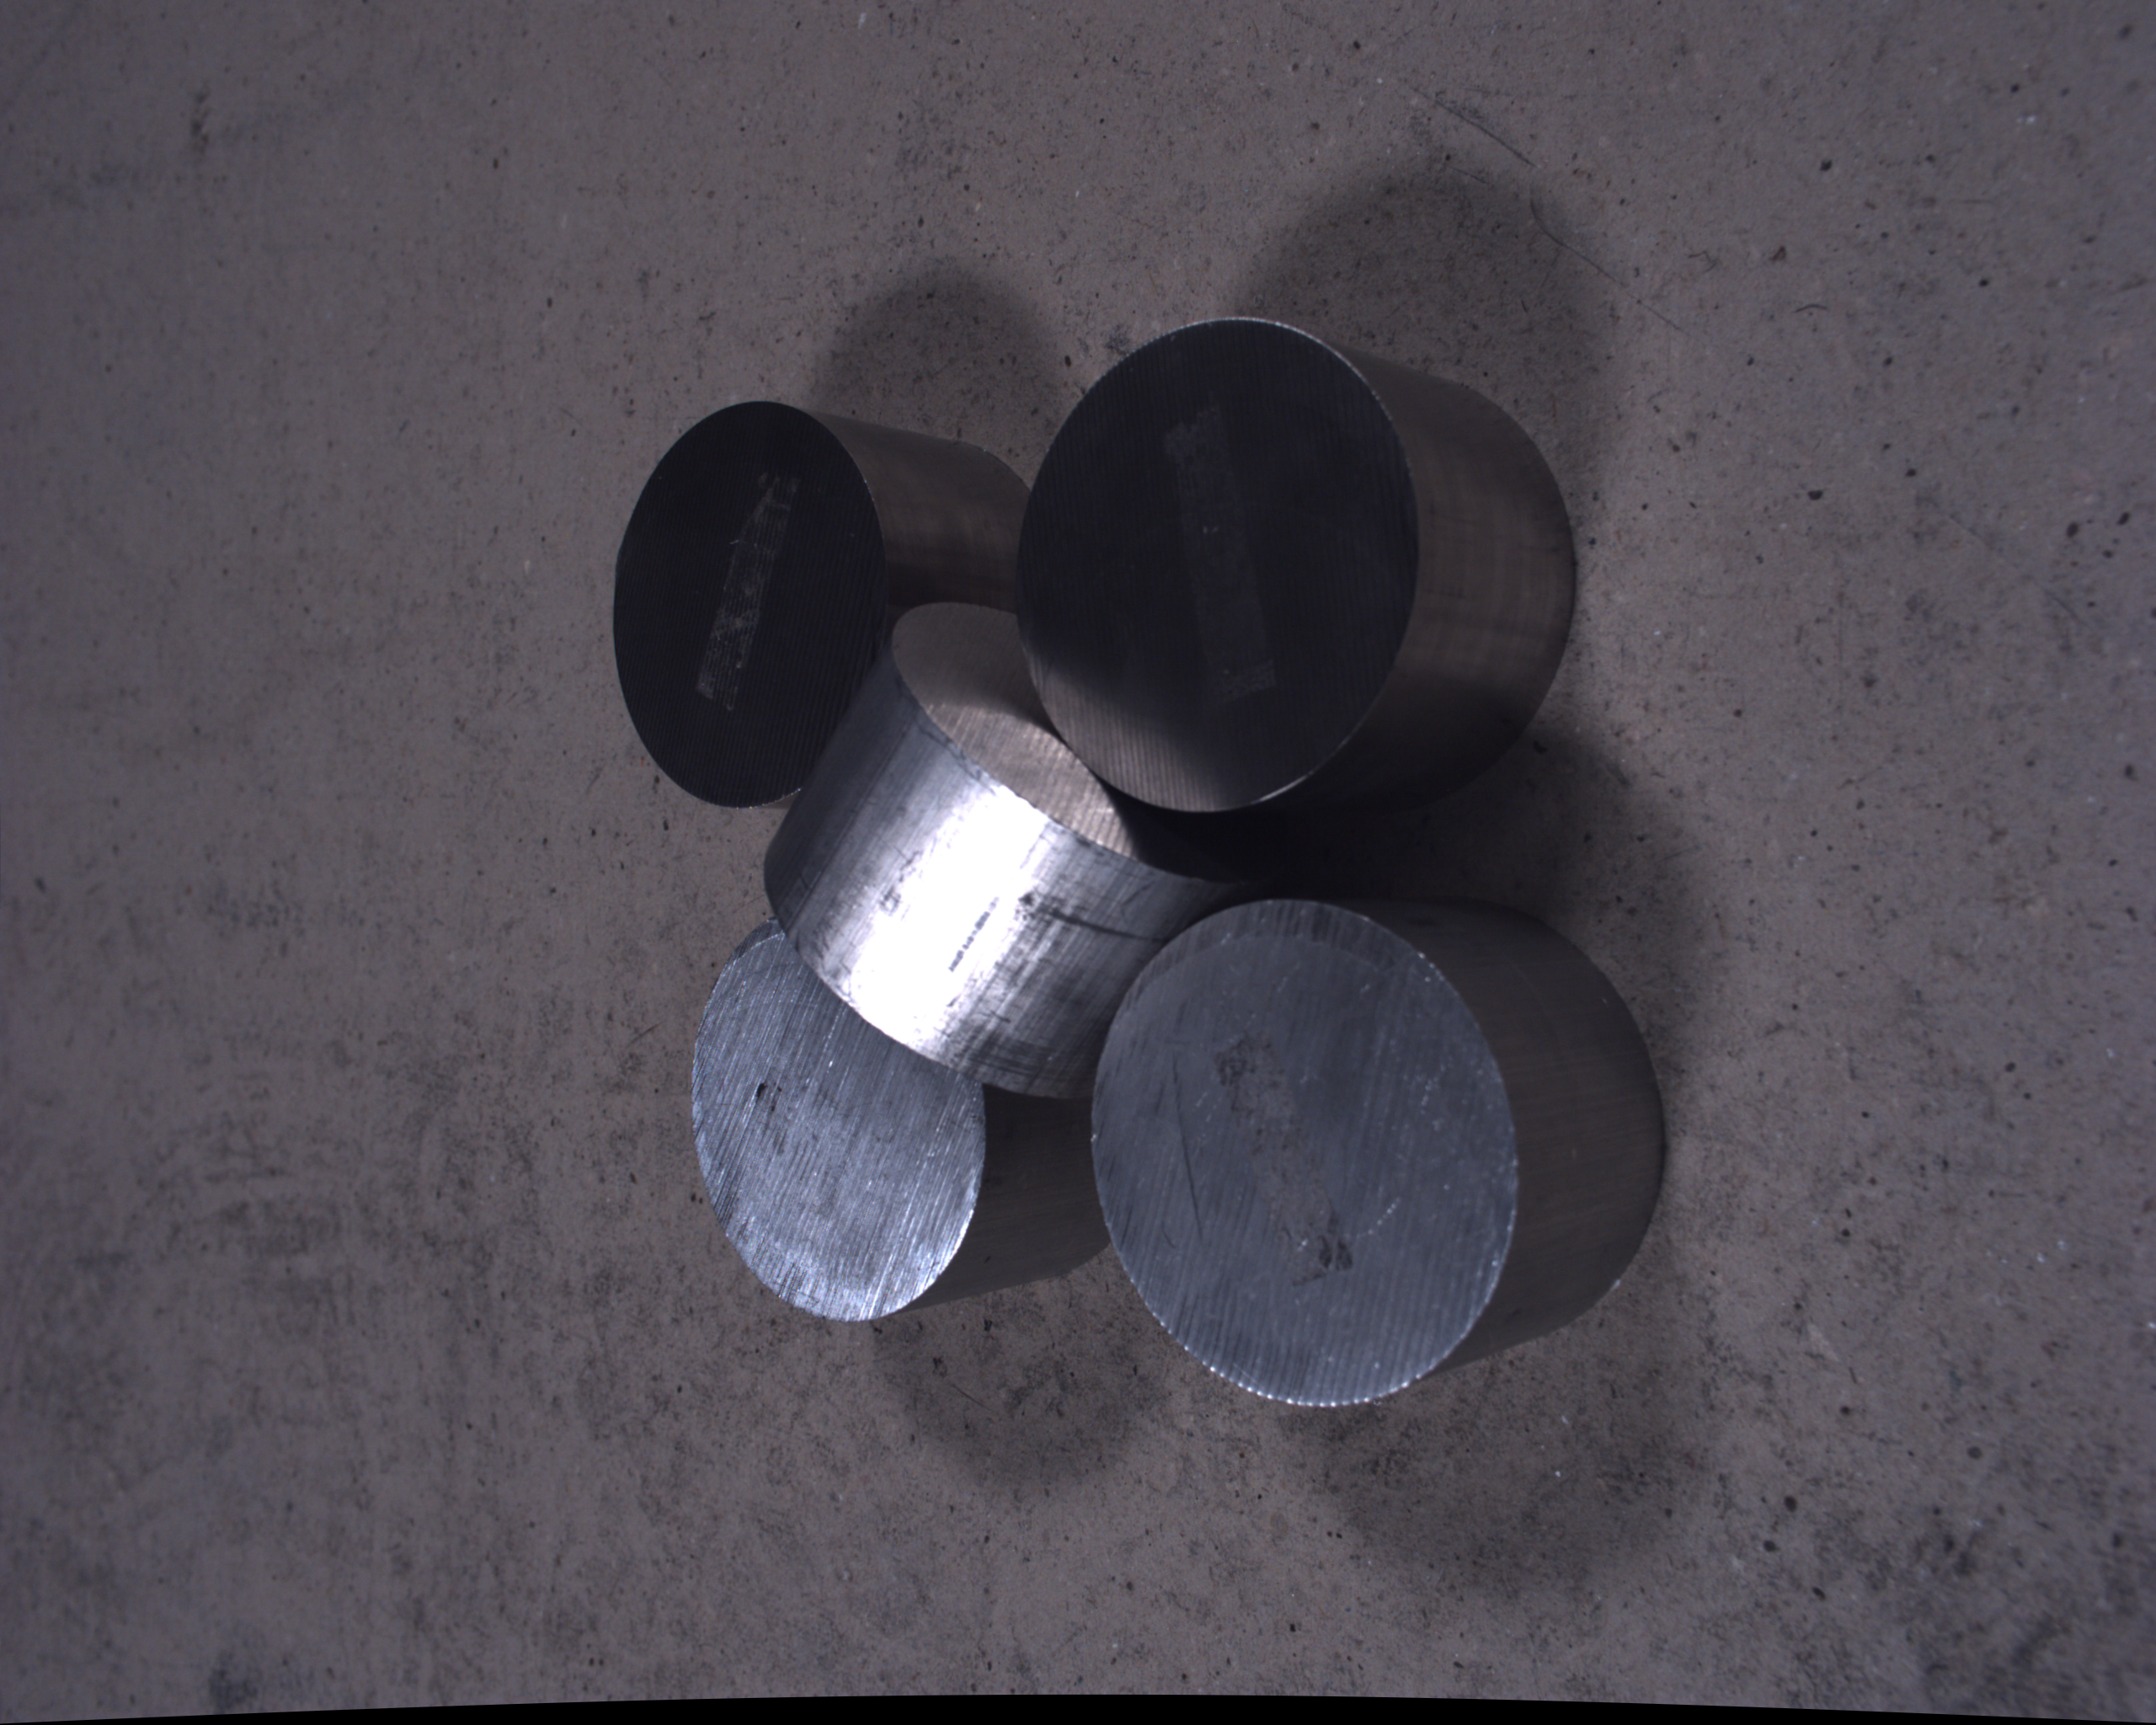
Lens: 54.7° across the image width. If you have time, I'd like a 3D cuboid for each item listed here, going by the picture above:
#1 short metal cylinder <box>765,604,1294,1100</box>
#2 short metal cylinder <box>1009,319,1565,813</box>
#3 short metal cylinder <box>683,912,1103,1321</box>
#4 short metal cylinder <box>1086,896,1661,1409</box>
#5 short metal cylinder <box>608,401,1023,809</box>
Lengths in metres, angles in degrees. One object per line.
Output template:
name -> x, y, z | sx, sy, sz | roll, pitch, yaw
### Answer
short metal cylinder -> -0.009, -0.003, 0.376 | 0.080, 0.081, 0.050 | 47, 118, 29
short metal cylinder -> 0.035, -0.048, 0.357 | 0.080, 0.050, 0.079 | 0, 90, 39
short metal cylinder -> -0.032, 0.046, 0.413 | 0.080, 0.050, 0.079 | 0, 90, 39
short metal cylinder -> 0.048, 0.046, 0.347 | 0.080, 0.050, 0.079 | 0, 90, 39
short metal cylinder -> -0.051, -0.051, 0.429 | 0.080, 0.050, 0.079 | 0, 90, 39
